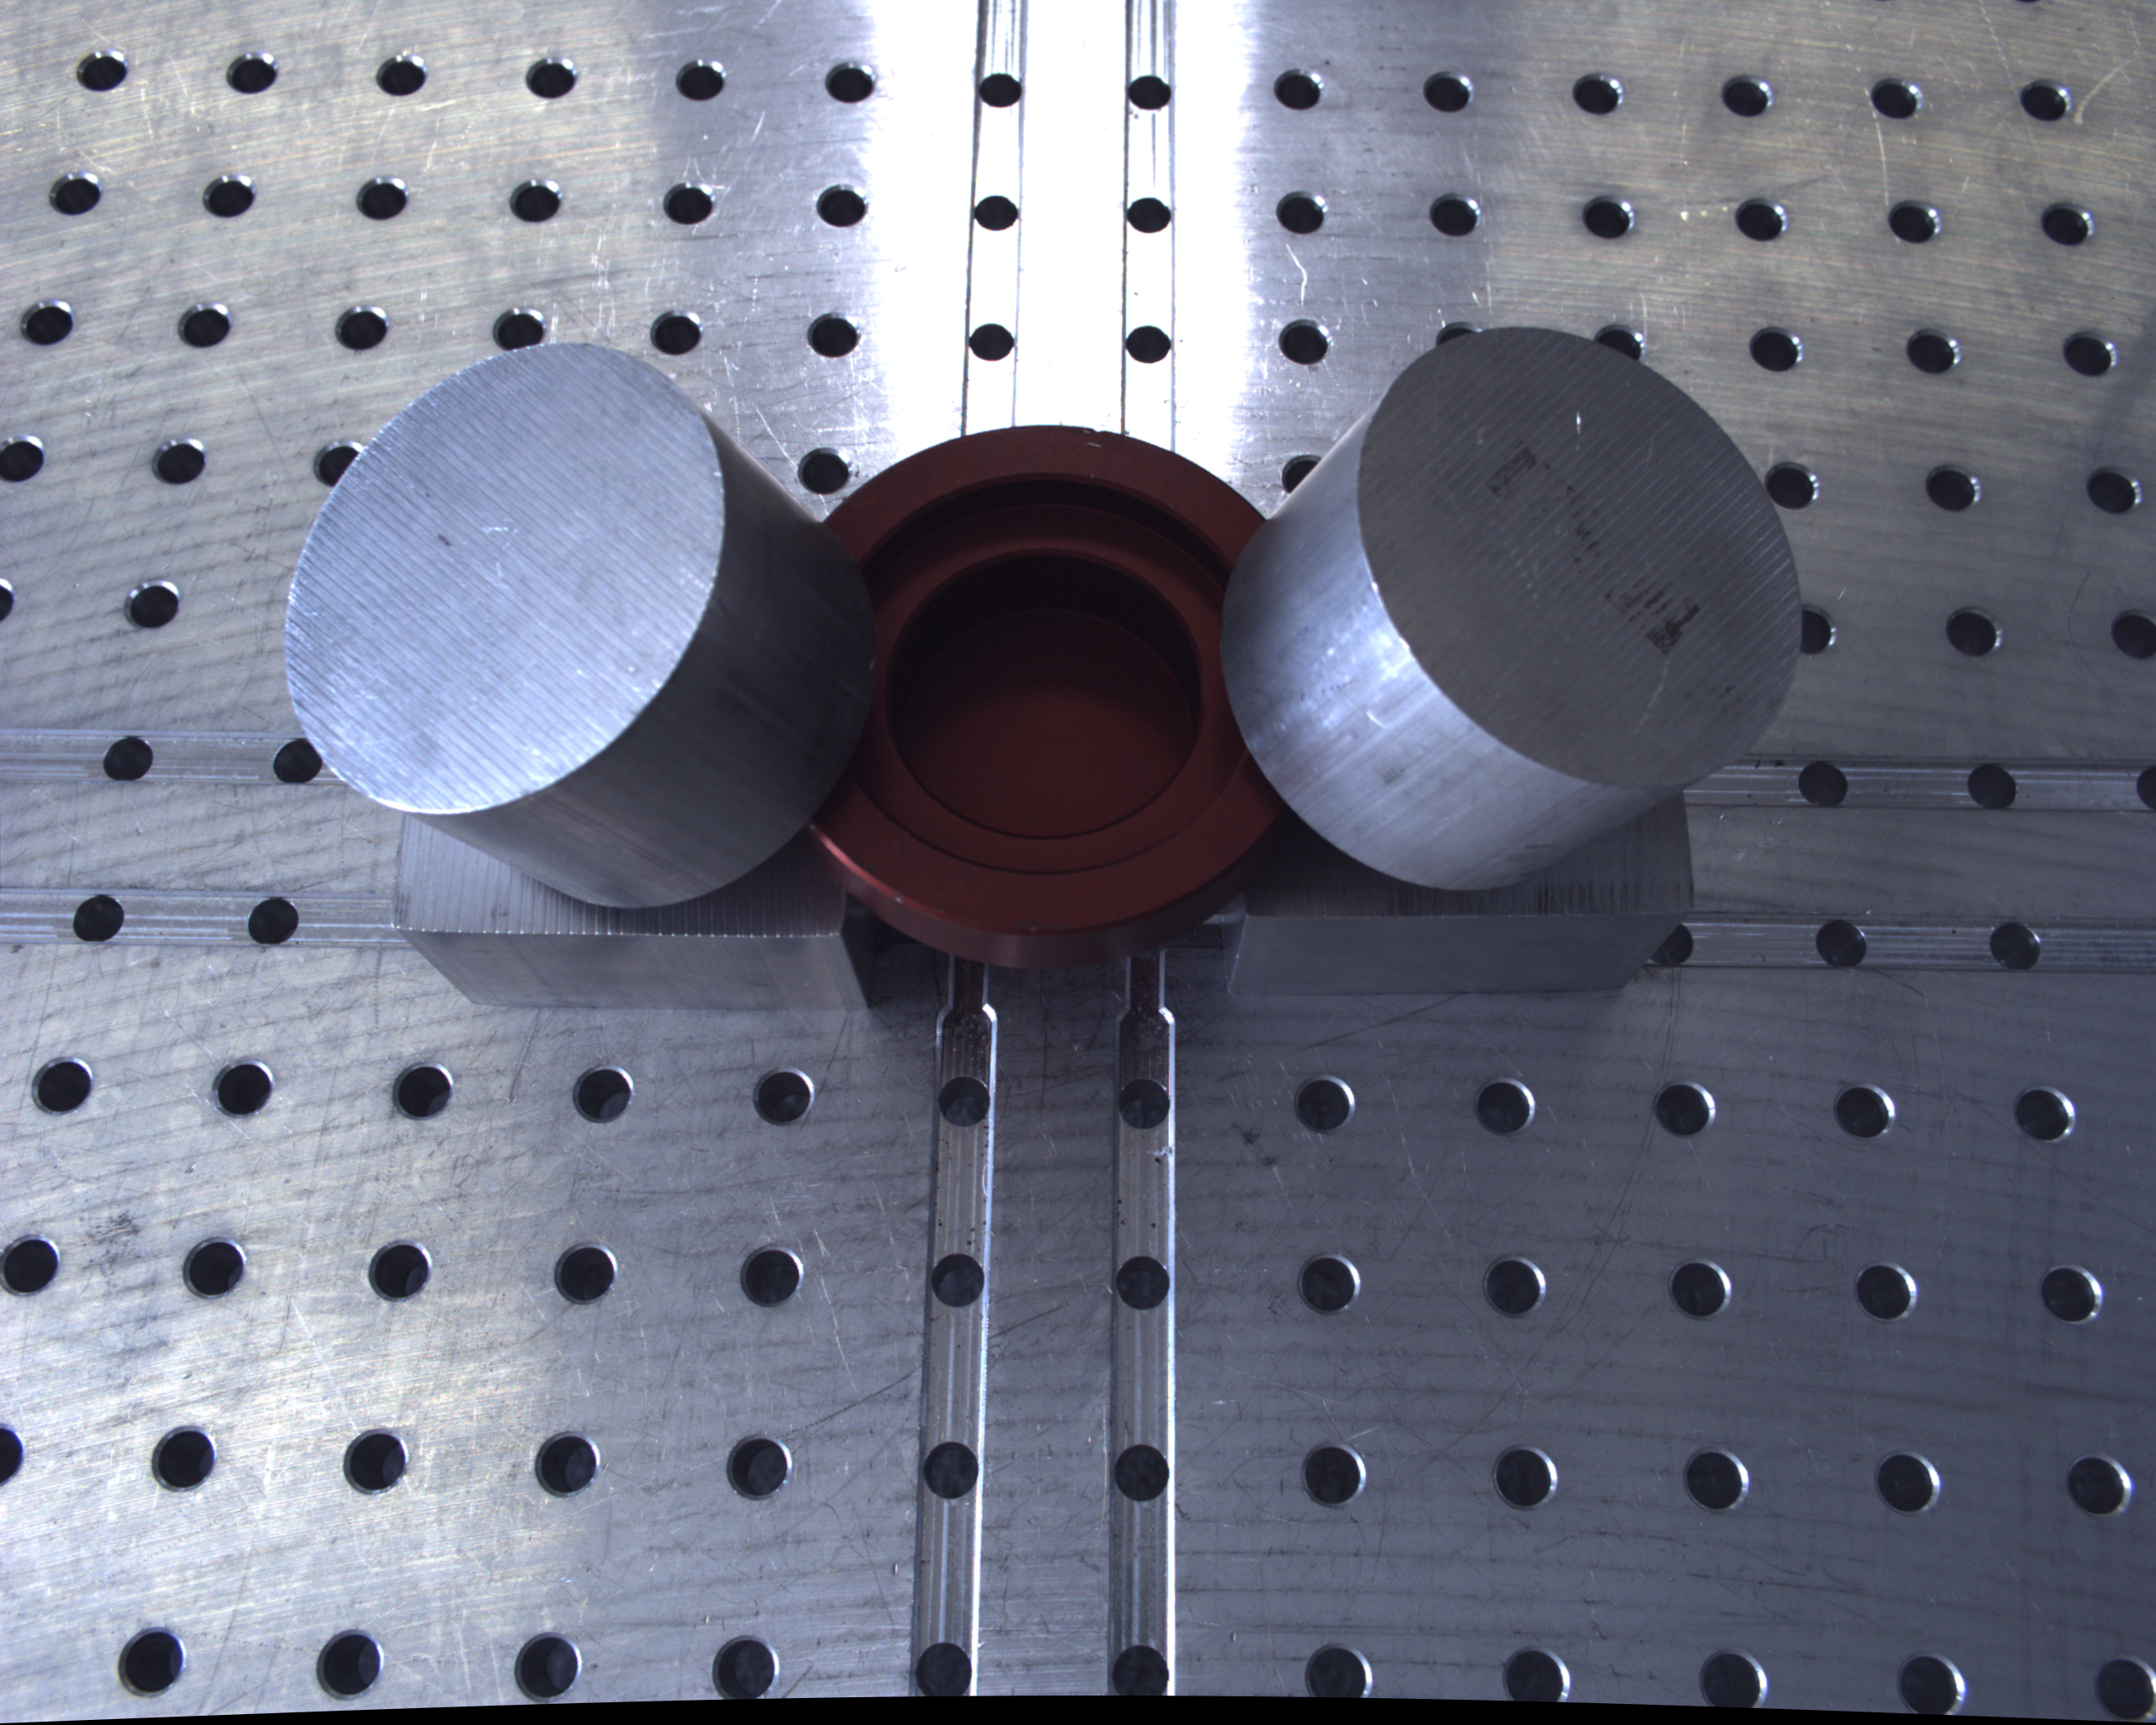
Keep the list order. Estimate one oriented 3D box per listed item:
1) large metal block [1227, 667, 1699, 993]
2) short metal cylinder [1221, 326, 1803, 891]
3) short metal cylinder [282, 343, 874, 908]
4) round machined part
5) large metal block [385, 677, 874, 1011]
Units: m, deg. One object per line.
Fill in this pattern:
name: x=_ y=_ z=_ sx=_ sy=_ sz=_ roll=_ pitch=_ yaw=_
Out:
large metal block: x=0.069 y=-0.020 z=0.406 sx=0.081 sy=0.050 sz=0.080 roll=-1 pitch=70 yaw=-1
short metal cylinder: x=0.071 y=-0.041 z=0.347 sx=0.081 sy=0.050 sz=0.080 roll=7 pitch=68 yaw=-19
short metal cylinder: x=-0.081 y=-0.038 z=0.345 sx=0.080 sy=0.050 sz=0.080 roll=-7 pitch=70 yaw=20
round machined part: x=-0.006 y=-0.027 z=0.381 sx=0.099 sy=0.042 sz=0.098 roll=0 pitch=70 yaw=0
large metal block: x=-0.081 y=-0.017 z=0.404 sx=0.080 sy=0.050 sz=0.080 roll=1 pitch=70 yaw=0
